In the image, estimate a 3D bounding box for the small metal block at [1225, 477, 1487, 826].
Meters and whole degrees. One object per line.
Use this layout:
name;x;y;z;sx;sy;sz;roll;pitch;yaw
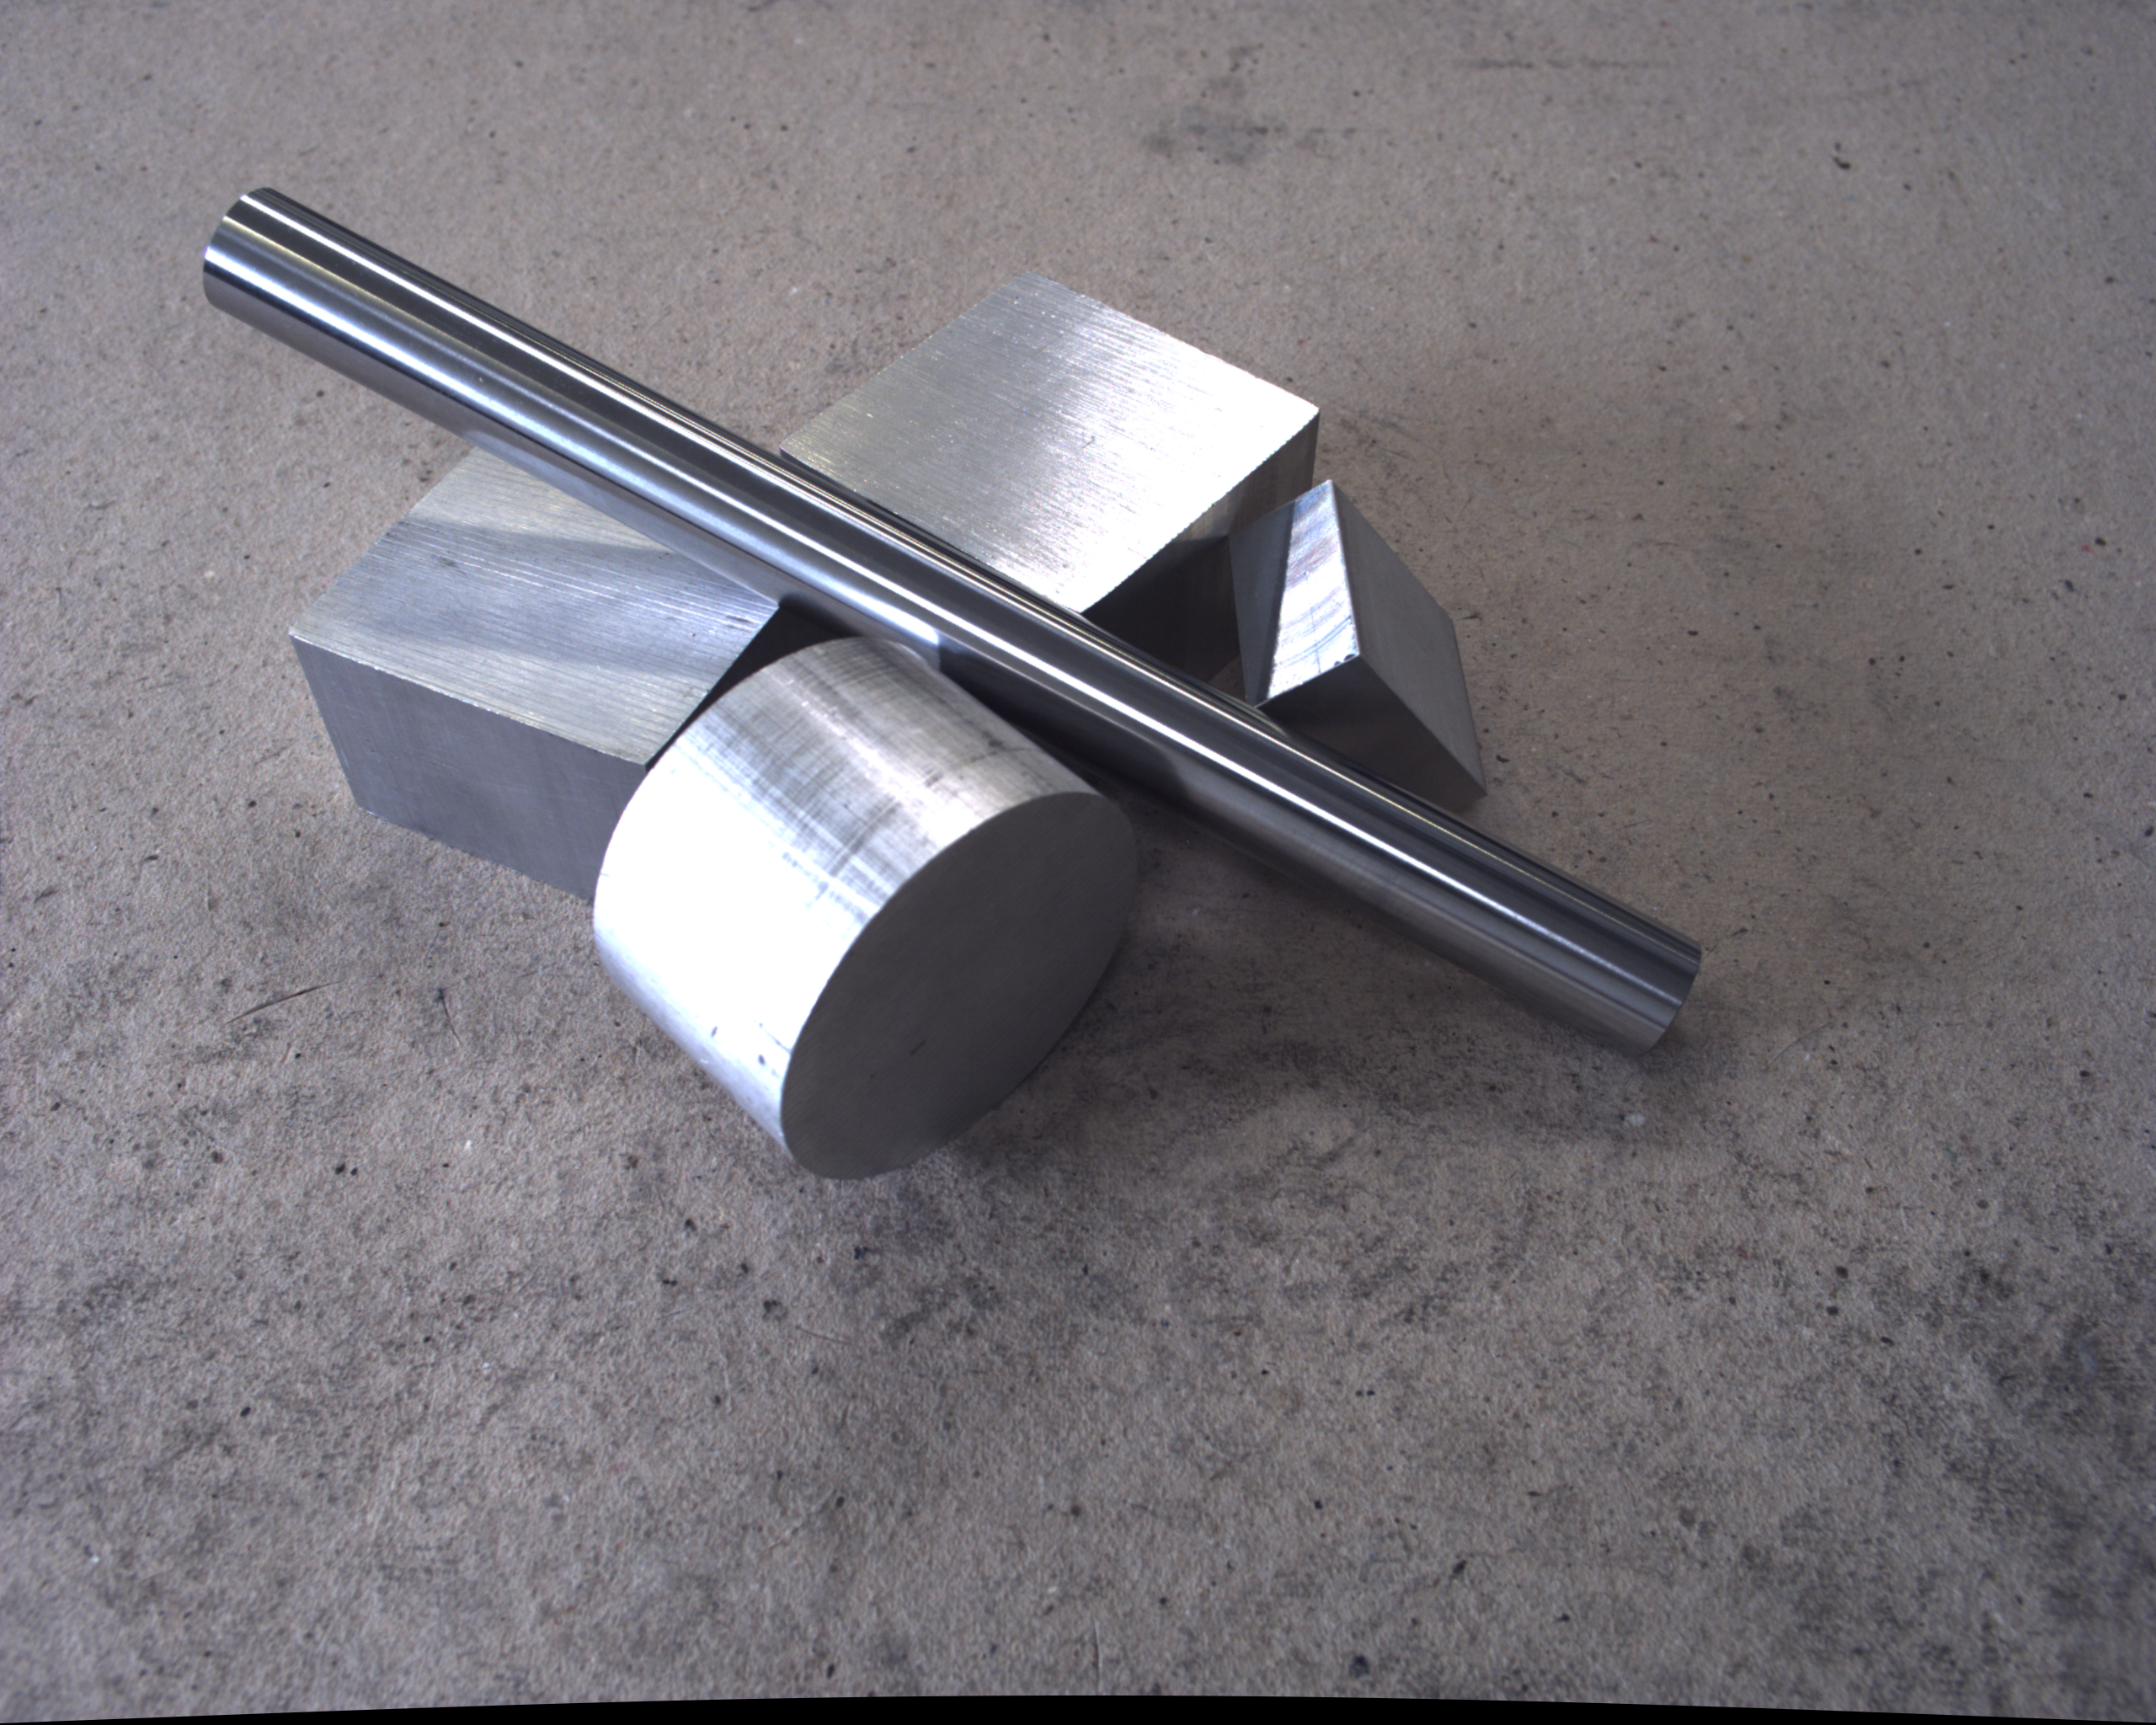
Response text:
small metal block;0.056;-0.040;0.420;0.025;0.050;0.050;-26;45;26

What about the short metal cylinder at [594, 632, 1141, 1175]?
short metal cylinder;-0.035;0.007;0.362;0.080;0.080;0.050;-37;59;-27

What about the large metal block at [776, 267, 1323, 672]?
large metal block;-0.006;-0.073;0.447;0.080;0.050;0.080;32;57;24

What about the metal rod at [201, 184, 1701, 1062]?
metal rod;-0.024;-0.045;0.389;0.301;0.025;0.025;28;54;2

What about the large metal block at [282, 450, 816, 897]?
large metal block;-0.096;-0.042;0.423;0.080;0.050;0.080;20;53;16
